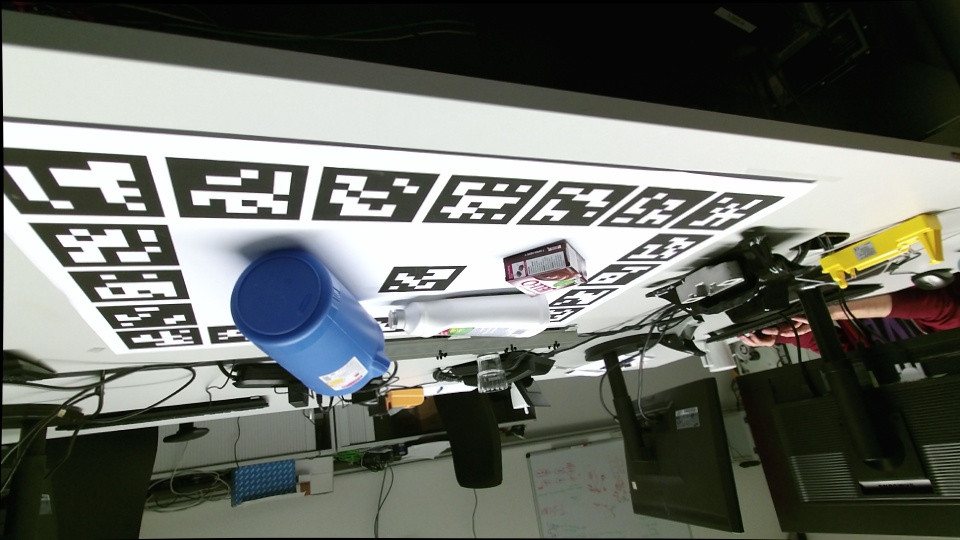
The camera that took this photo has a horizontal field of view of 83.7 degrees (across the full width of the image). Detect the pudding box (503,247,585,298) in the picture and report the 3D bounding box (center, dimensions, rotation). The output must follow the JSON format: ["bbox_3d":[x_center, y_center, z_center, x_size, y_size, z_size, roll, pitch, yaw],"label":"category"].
[{"bbox_3d":[0.093,0.008,0.756,0.090,0.038,0.114,-12,158,20],"label":"pudding box"}]

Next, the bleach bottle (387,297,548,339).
[{"bbox_3d":[-0.024,0.085,0.877,0.252,0.067,0.103,0,152,-19],"label":"bleach bottle"}]

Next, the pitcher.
[{"bbox_3d":[-0.223,0.061,0.679,0.189,0.133,0.243,21,157,14],"label":"pitcher"}]
